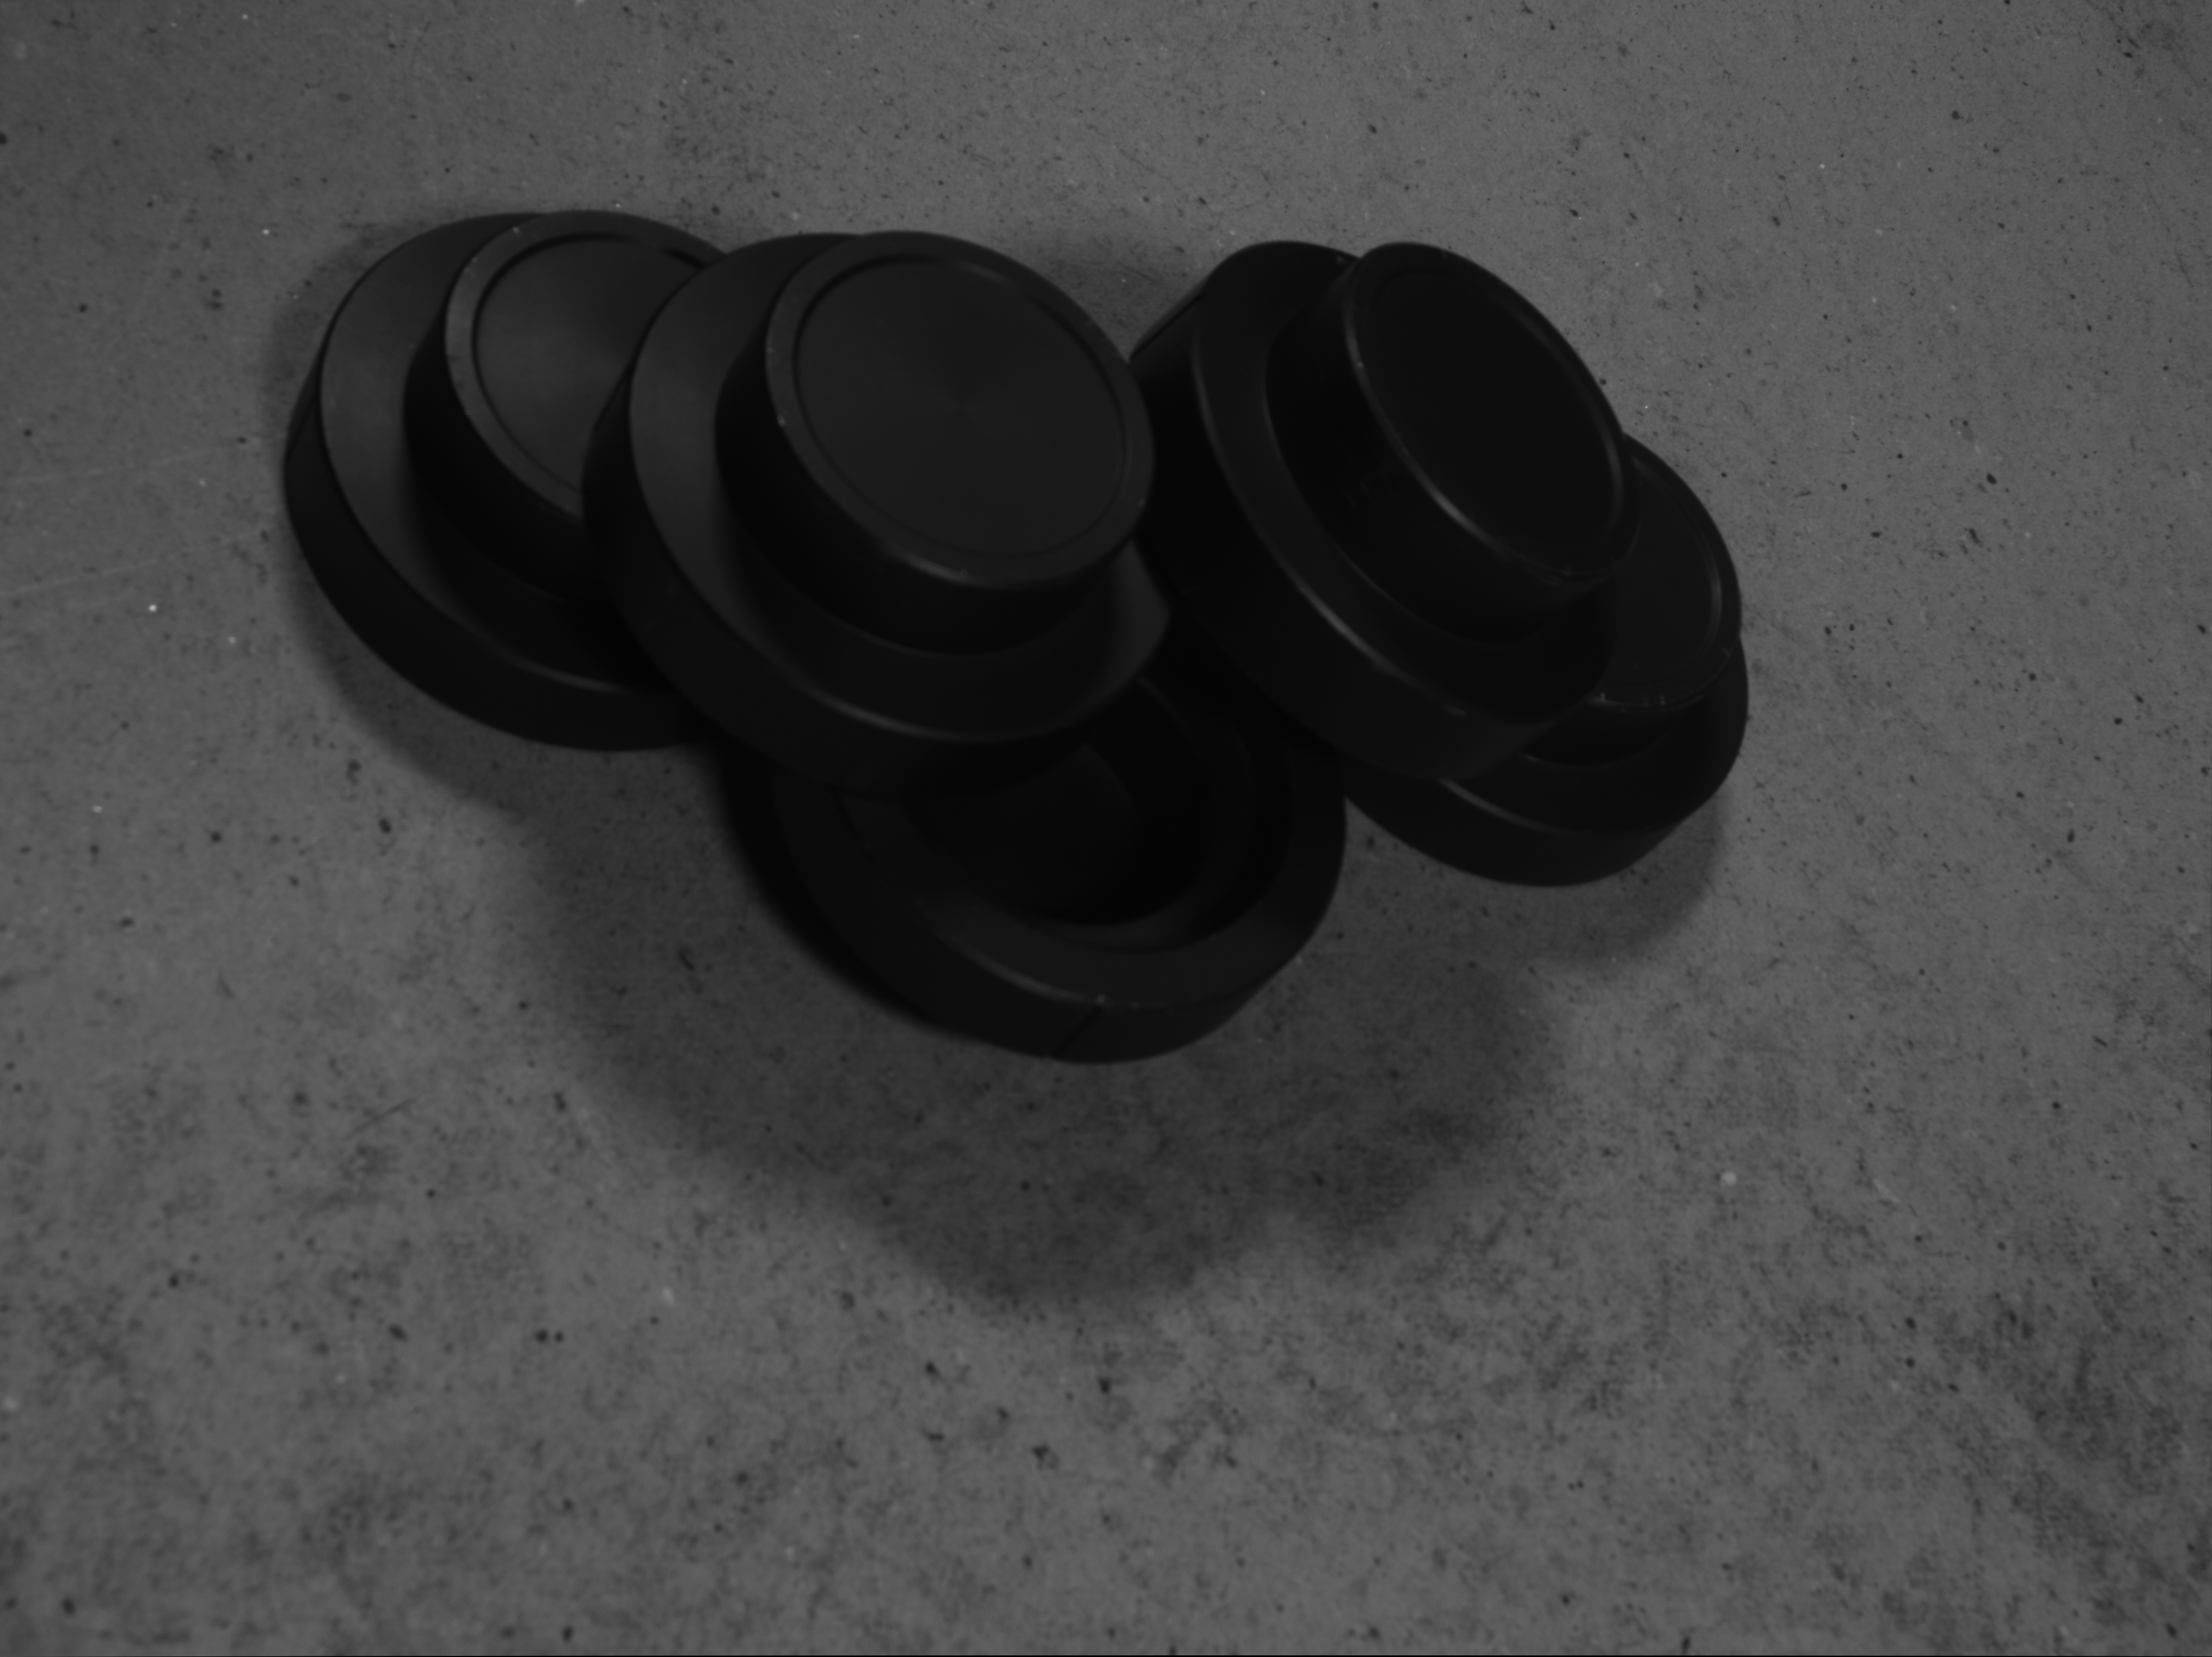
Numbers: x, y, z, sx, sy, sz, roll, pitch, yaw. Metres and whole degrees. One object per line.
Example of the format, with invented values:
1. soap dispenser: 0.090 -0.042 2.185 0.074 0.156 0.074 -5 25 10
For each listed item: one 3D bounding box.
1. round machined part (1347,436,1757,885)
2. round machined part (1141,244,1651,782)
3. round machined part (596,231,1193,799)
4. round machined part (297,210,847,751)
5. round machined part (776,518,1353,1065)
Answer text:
1. round machined part: 0.083 -0.042 0.699 0.098 0.042 0.098 14 56 -21
2. round machined part: 0.055 -0.061 0.628 0.098 0.042 0.098 24 47 -28
3. round machined part: -0.029 -0.057 0.594 0.098 0.042 0.098 14 56 -21
4. round machined part: -0.084 -0.066 0.623 0.098 0.042 0.098 14 56 -21
5. round machined part: -0.011 -0.004 0.626 0.098 0.042 0.098 14 56 -21
